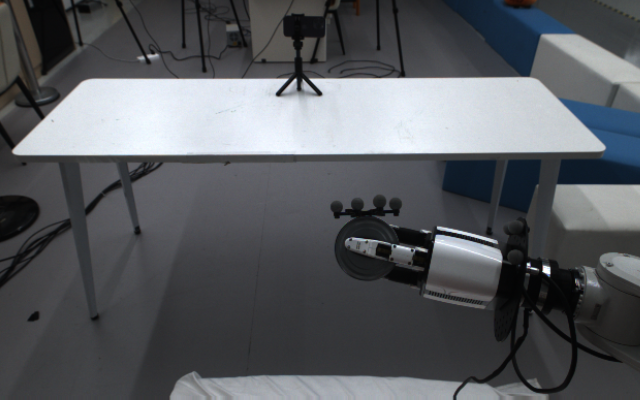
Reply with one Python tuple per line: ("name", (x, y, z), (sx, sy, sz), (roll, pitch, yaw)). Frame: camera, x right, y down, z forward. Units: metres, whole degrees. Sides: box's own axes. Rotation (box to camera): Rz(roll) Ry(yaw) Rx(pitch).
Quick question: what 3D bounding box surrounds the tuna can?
("tuna can", (0.065, 0.064, 0.645), (0.085, 0.034, 0.085), (-2, 79, 10))
